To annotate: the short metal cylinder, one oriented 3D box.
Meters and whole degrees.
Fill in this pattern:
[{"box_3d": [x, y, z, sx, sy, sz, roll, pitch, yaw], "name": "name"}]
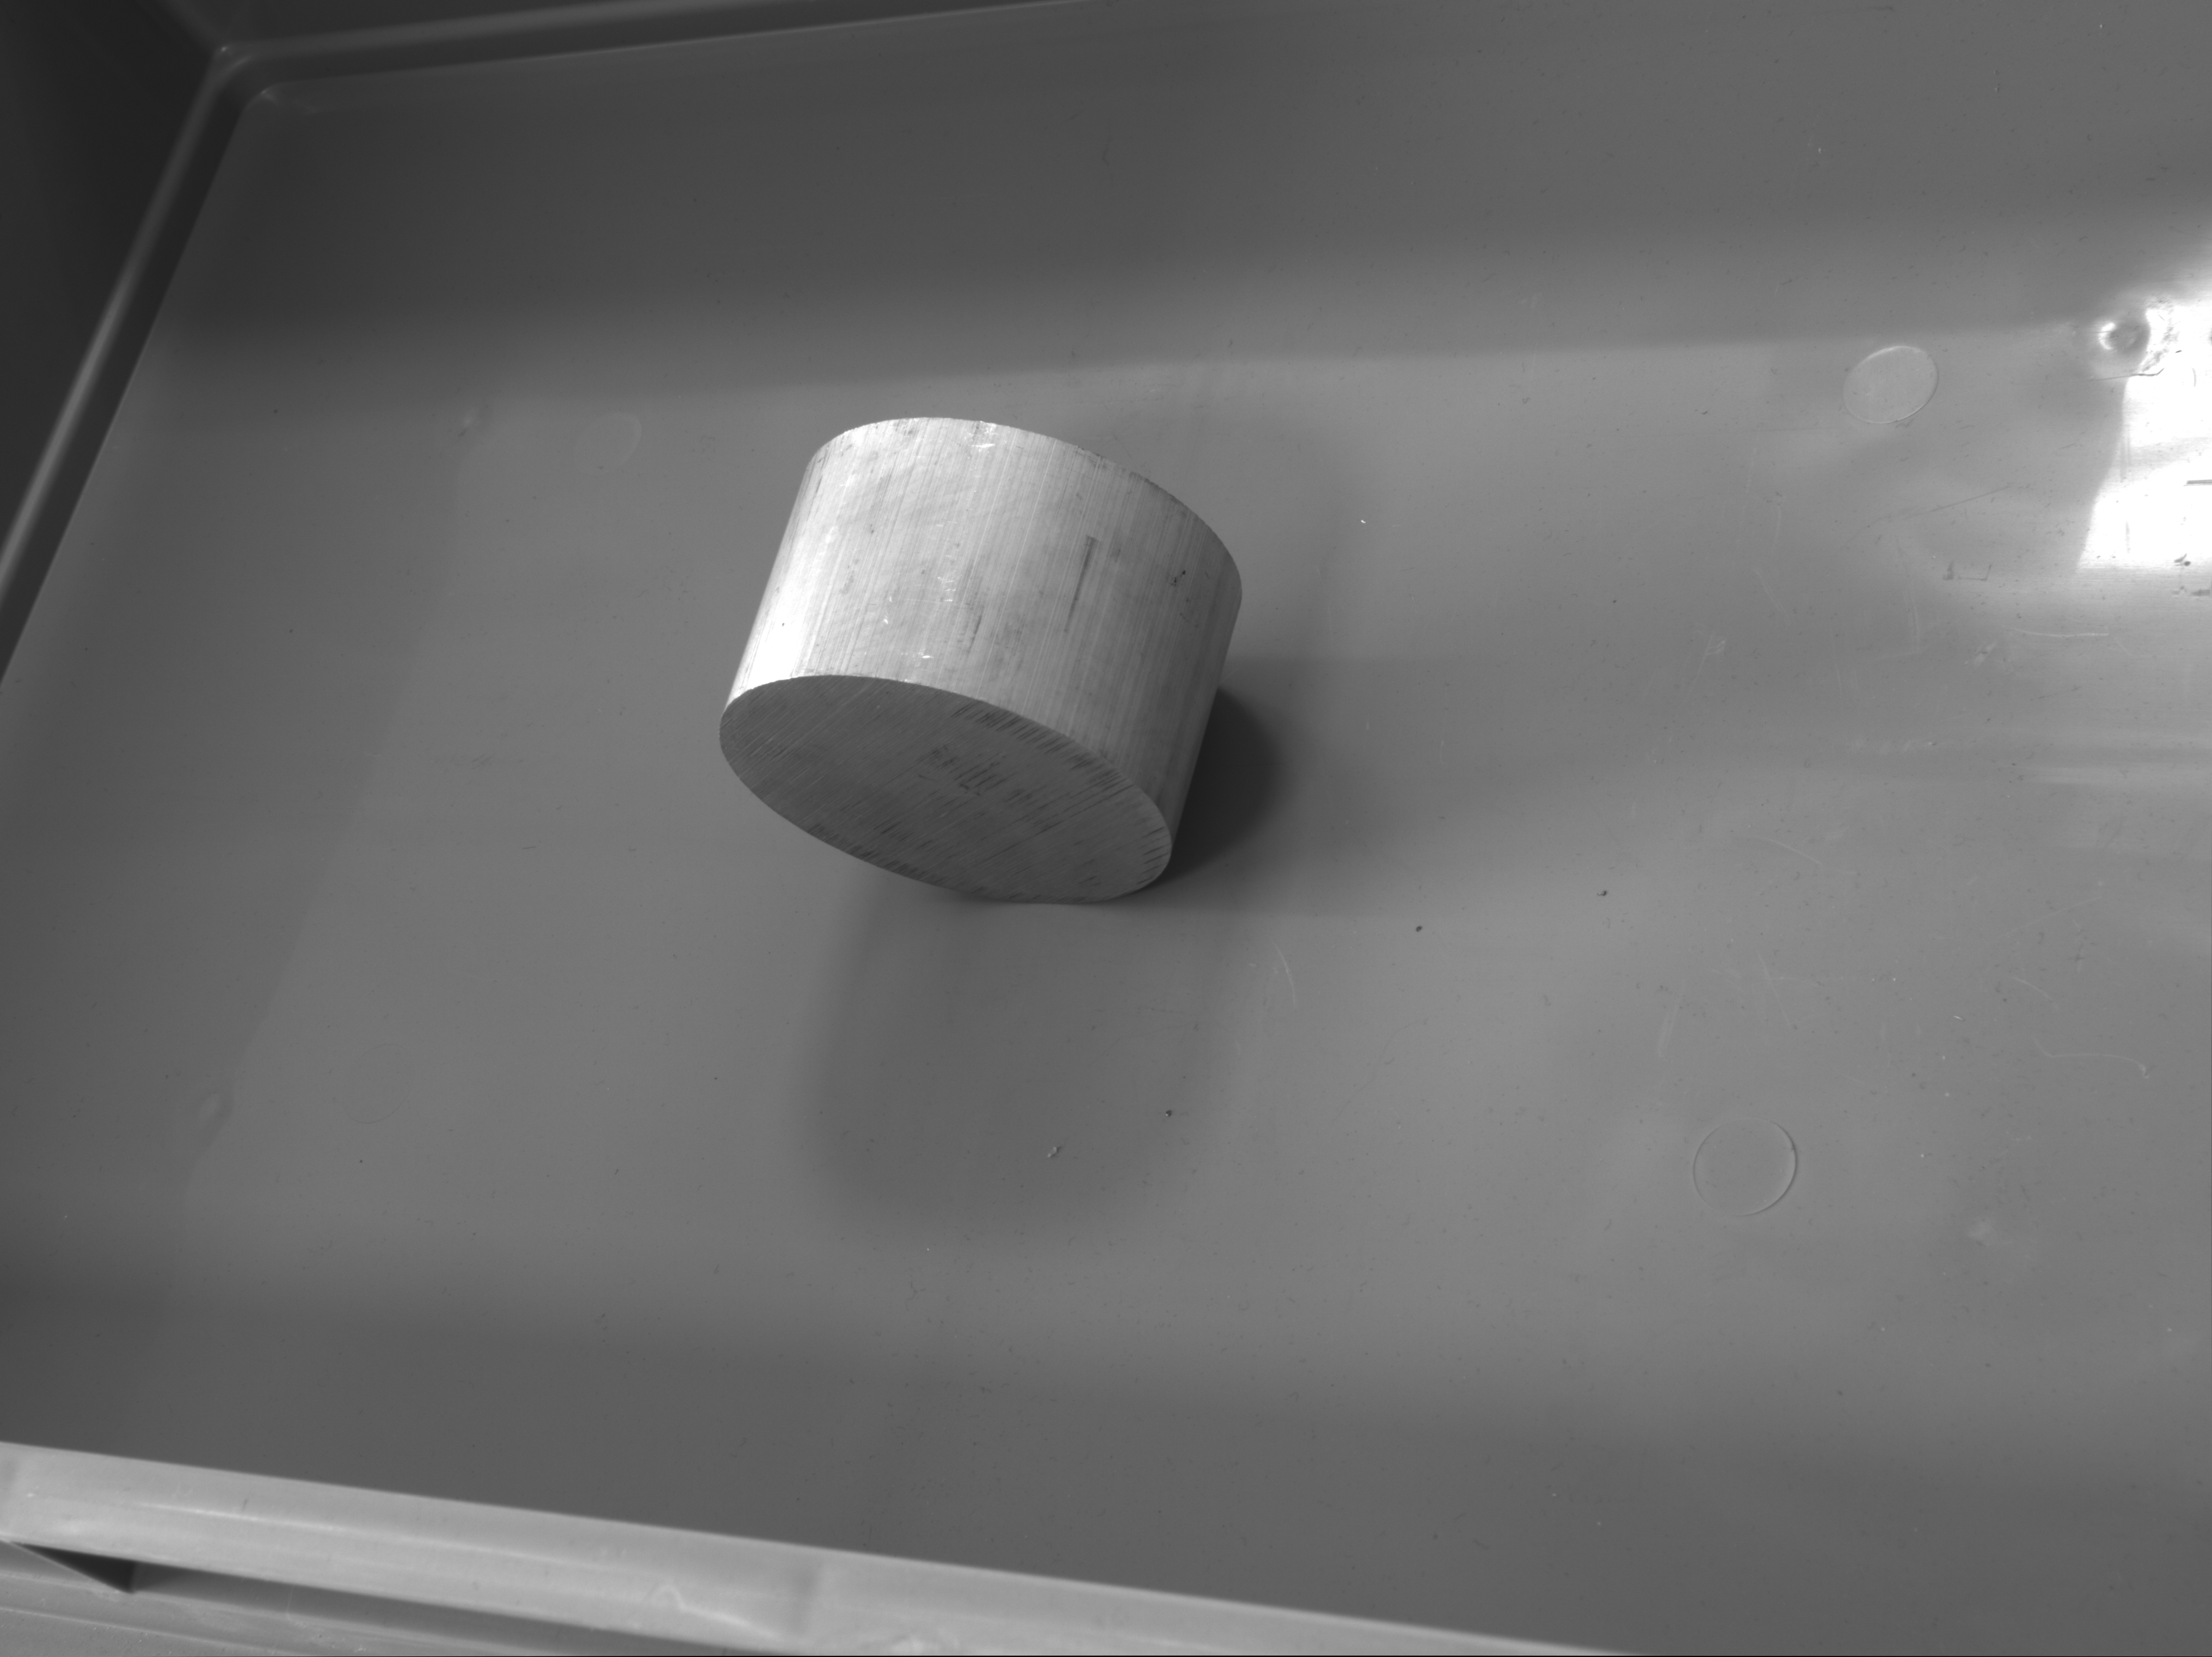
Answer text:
[{"box_3d": [-0.022, -0.028, 0.636, 0.080, 0.080, 0.050, 2, 62, 29], "name": "short metal cylinder"}]
